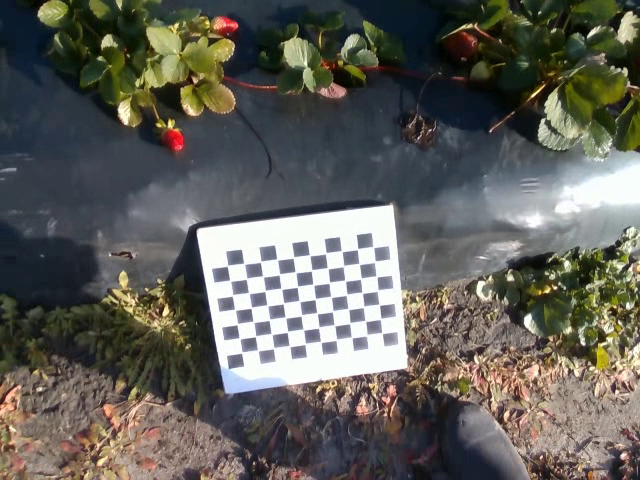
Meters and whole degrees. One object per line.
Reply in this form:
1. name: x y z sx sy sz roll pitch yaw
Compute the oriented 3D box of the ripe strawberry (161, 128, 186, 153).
1. ripe strawberry: -0.167 -0.119 0.813 0.028 0.041 0.031 -31 -39 4
